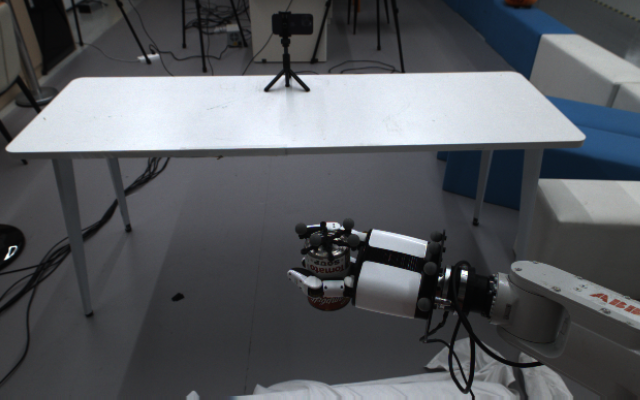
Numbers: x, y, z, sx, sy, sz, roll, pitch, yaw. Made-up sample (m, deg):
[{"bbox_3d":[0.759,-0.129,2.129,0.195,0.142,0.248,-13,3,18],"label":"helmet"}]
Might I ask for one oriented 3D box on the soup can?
[{"bbox_3d":[0.013,0.104,0.712,0.067,0.101,0.067,-2,32,1],"label":"soup can"}]
